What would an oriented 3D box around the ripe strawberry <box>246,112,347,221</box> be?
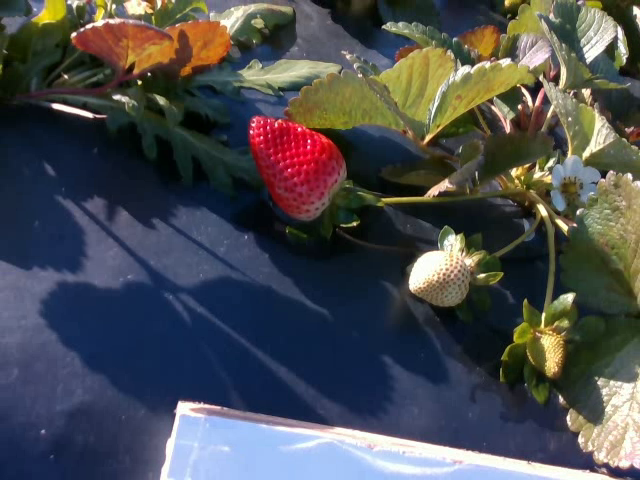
[{"bbox_3d":[-0.011,-0.032,0.249,0.053,0.044,0.036,41,-9,-14],"label":"ripe strawberry"}]
